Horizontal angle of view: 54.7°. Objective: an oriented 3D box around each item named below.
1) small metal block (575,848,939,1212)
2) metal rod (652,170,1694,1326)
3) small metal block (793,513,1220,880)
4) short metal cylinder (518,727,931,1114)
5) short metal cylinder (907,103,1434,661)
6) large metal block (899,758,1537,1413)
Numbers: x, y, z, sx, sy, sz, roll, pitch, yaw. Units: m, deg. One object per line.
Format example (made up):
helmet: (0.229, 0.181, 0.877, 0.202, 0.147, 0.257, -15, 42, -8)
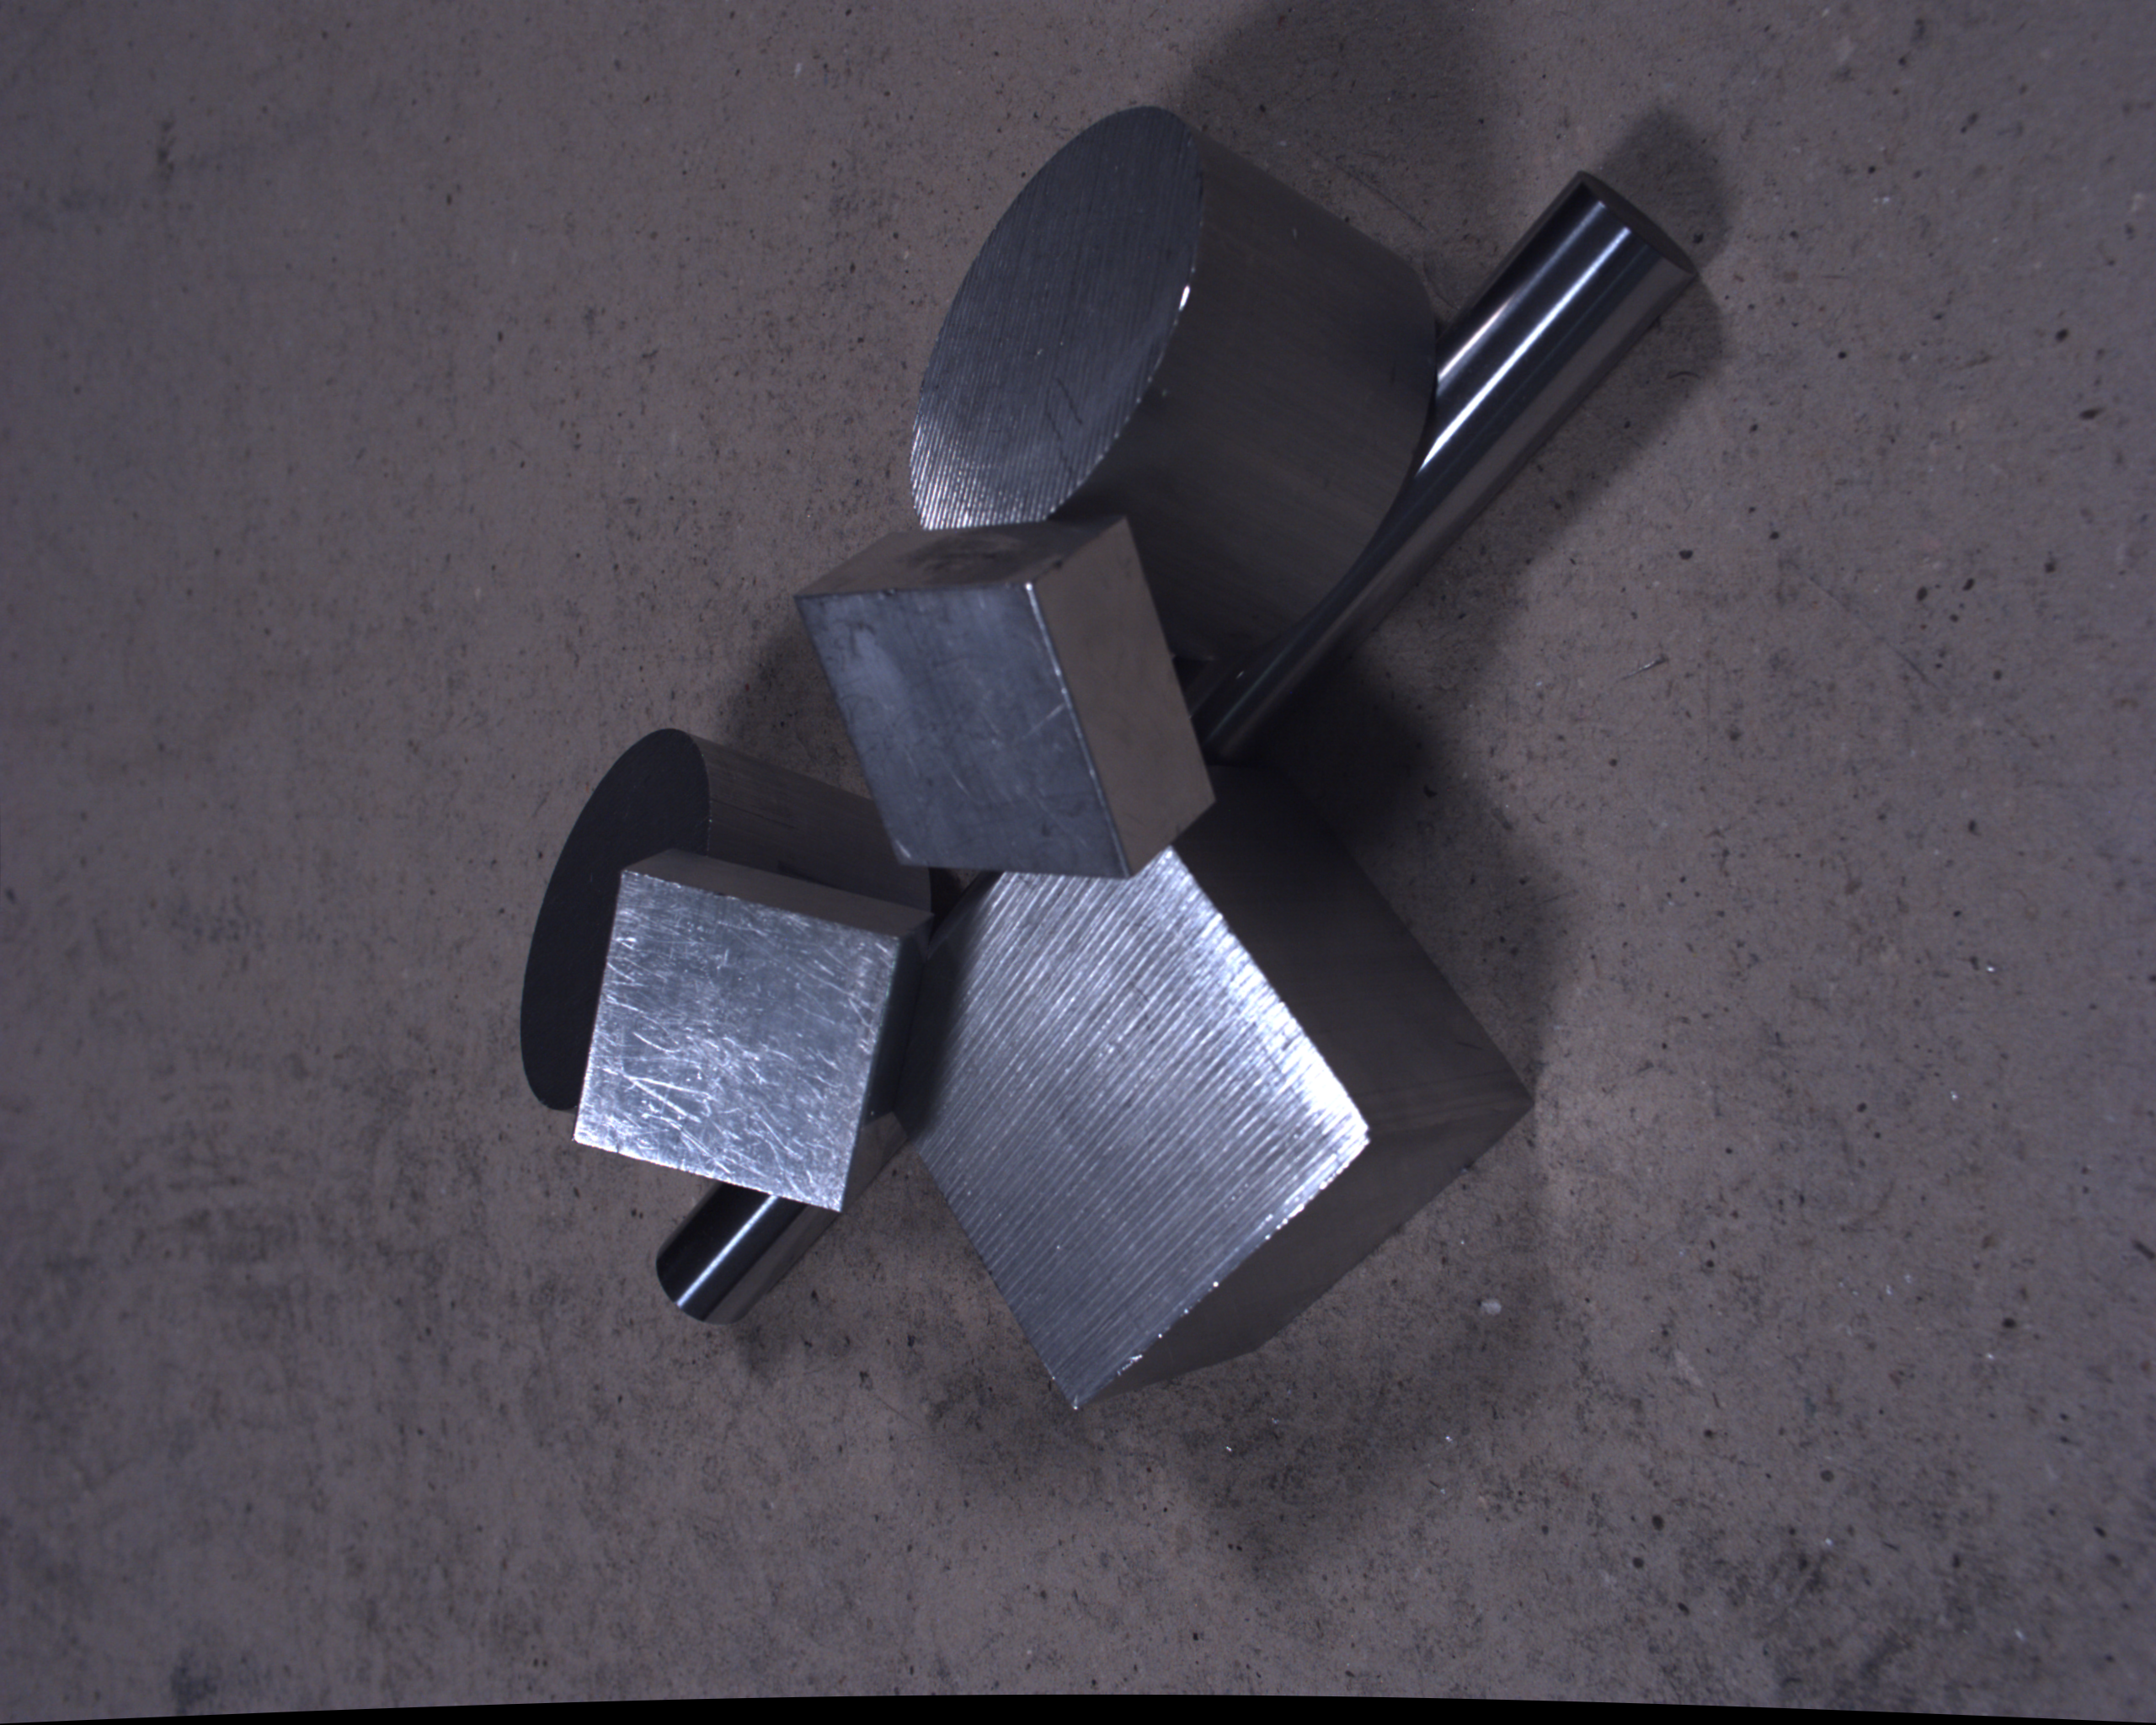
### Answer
small metal block: (-0.057, 0.029, 0.370, 0.050, 0.025, 0.050, 14, 101, 6)
metal rod: (0.002, -0.004, 0.403, 0.299, 0.025, 0.025, -48, 62, 28)
small metal block: (-0.011, -0.026, 0.332, 0.050, 0.025, 0.050, 3, 123, 39)
short metal cylinder: (-0.074, 0.018, 0.431, 0.080, 0.050, 0.080, -32, 47, 43)
short metal cylinder: (0.014, -0.081, 0.358, 0.080, 0.050, 0.080, -32, 47, 43)
large metal block: (0.018, 0.037, 0.371, 0.080, 0.050, 0.080, -49, 62, 29)
